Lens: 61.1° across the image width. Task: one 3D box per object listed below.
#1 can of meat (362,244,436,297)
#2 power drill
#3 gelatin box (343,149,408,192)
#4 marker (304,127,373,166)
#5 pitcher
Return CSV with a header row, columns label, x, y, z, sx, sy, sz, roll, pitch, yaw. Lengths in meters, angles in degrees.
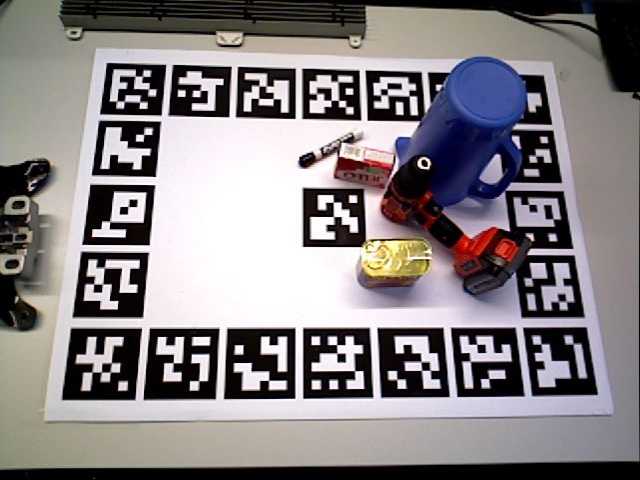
label,x,y,z,sx,sy,sz,roll,pitch,yaw
can of meat,0.115,0.047,0.789,0.101,0.085,0.057,0,70,-4
power drill,0.185,-0.028,0.767,0.187,0.187,0.057,36,75,2
gelatin box,0.085,-0.106,0.843,0.089,0.074,0.030,12,75,-2
marker,0.029,-0.151,0.879,0.120,0.020,0.019,-26,76,-9
pitcher,0.234,-0.133,0.777,0.189,0.245,0.132,30,75,13
